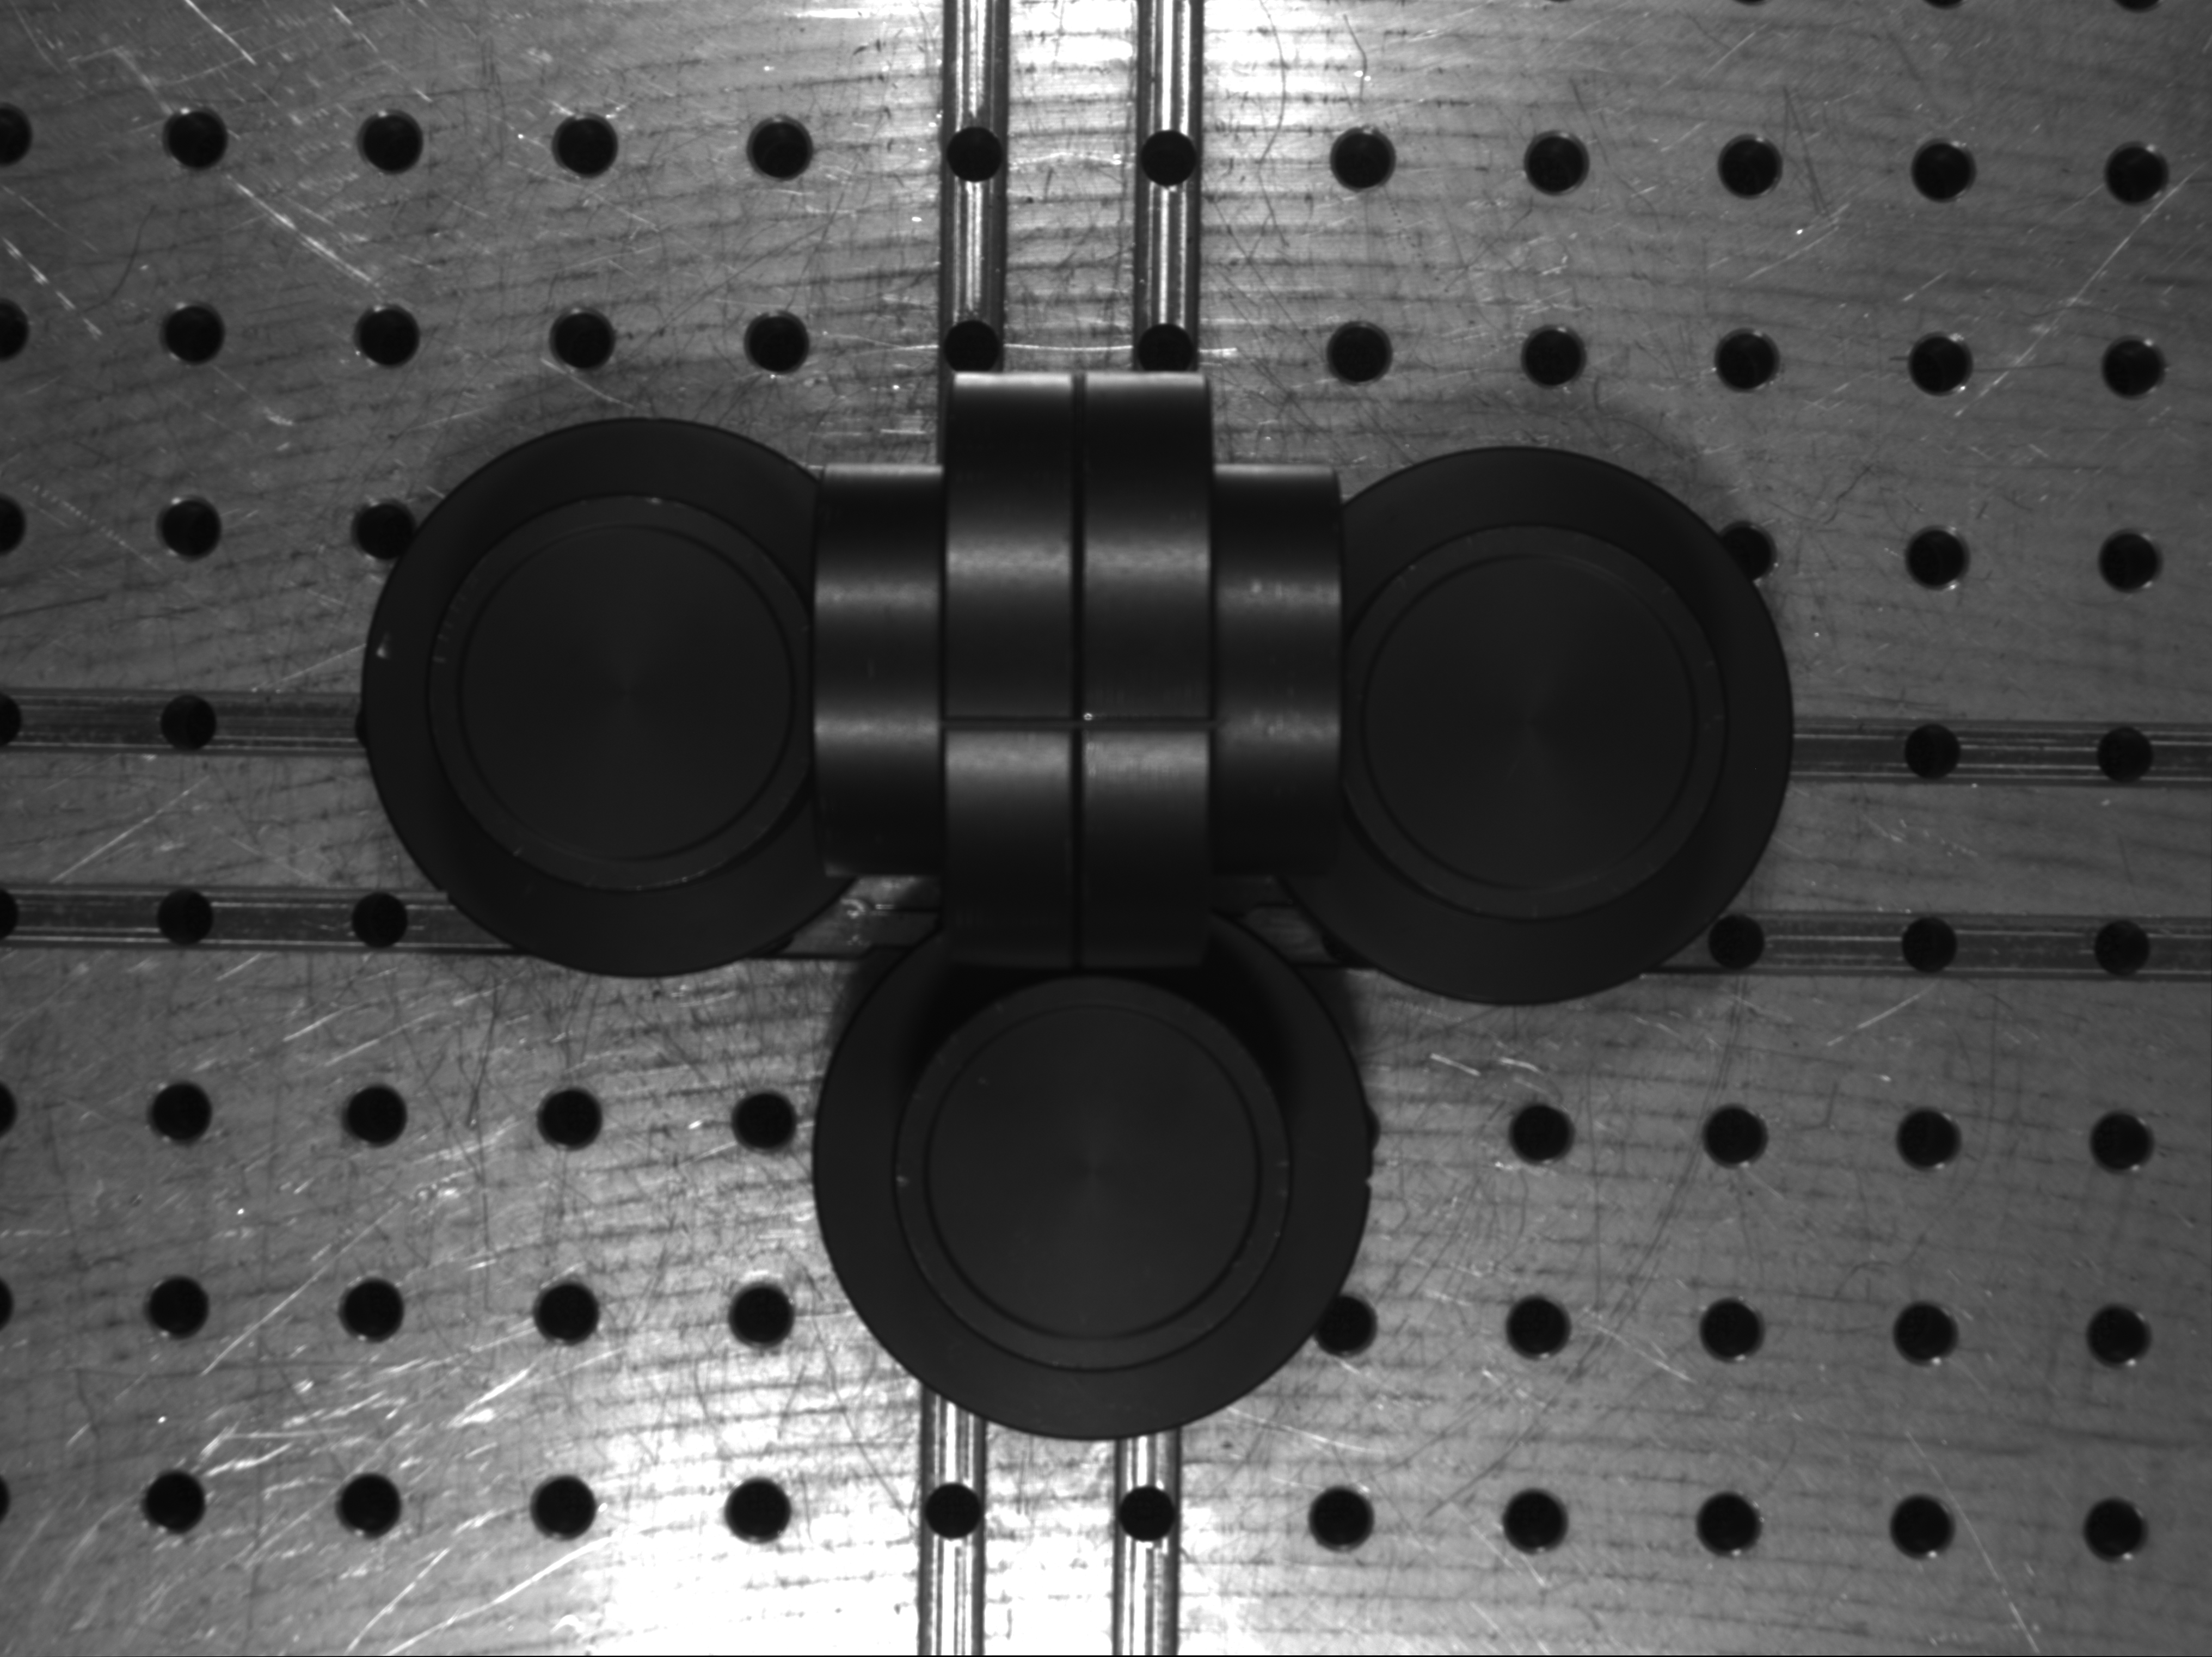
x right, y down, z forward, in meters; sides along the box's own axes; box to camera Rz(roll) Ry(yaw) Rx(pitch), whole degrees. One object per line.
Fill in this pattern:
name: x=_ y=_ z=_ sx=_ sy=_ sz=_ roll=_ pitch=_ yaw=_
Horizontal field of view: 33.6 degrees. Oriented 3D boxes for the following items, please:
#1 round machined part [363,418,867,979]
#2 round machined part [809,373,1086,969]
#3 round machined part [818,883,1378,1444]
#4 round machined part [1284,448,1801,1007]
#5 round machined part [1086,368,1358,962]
round machined part: x=-0.081 y=-0.023 z=0.638 sx=0.098 sy=0.042 sz=0.098 roll=0 pitch=90 yaw=0
round machined part: x=-0.025 y=-0.026 z=0.605 sx=0.042 sy=0.098 sz=0.098 roll=1 pitch=90 yaw=0
round machined part: x=-0.001 y=0.058 z=0.639 sx=0.098 sy=0.042 sz=0.098 roll=0 pitch=90 yaw=0
round machined part: x=0.073 y=-0.018 z=0.639 sx=0.098 sy=0.042 sz=0.098 roll=0 pitch=90 yaw=0
round machined part: x=0.018 y=-0.027 z=0.606 sx=0.042 sy=0.098 sz=0.098 roll=-1 pitch=90 yaw=0
